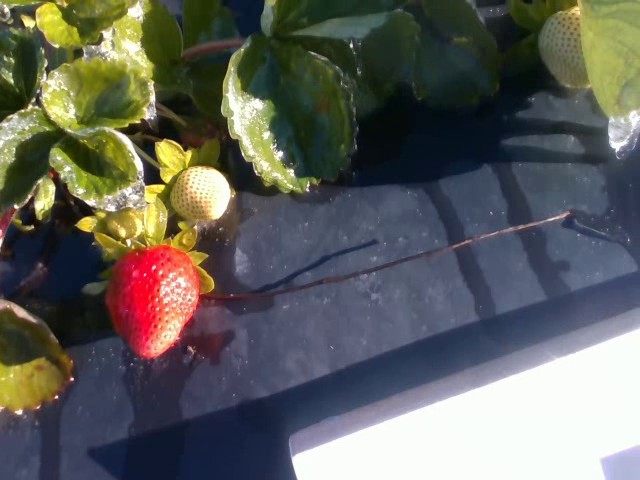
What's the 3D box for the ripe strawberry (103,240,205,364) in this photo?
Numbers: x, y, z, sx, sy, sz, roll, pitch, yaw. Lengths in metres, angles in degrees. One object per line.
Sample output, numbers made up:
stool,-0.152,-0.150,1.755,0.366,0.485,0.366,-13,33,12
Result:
ripe strawberry,-0.049,0.022,0.188,0.039,0.040,0.039,-27,33,8
